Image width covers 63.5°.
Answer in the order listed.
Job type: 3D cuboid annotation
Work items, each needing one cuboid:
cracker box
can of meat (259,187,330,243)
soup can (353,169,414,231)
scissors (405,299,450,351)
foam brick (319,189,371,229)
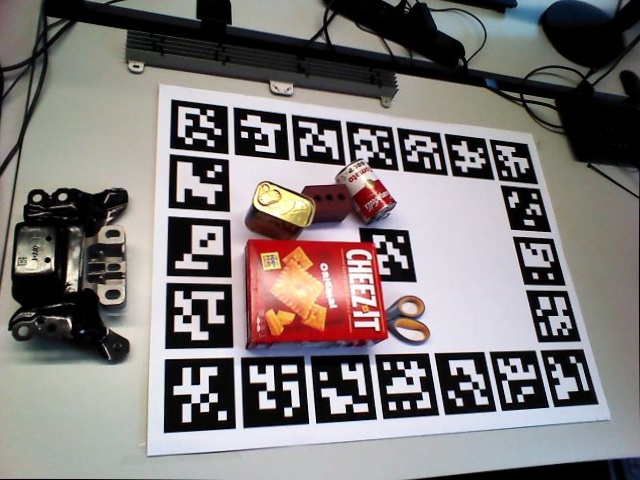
[{"bbox_3d":[0.017,0.097,0.806,0.213,0.072,0.163,-3,70,-15],"label":"cracker box"},{"bbox_3d":[-0.043,-0.034,0.844,0.102,0.084,0.057,16,66,-12],"label":"can of meat"},{"bbox_3d":[0.117,-0.075,0.932,0.067,0.068,0.102,-37,79,-26],"label":"soup can"},{"bbox_3d":[0.120,0.146,0.855,0.202,0.016,0.087,-2,71,-18],"label":"scissors"},{"bbox_3d":[0.040,-0.053,0.900,0.078,0.052,0.052,-8,73,-21],"label":"foam brick"}]
